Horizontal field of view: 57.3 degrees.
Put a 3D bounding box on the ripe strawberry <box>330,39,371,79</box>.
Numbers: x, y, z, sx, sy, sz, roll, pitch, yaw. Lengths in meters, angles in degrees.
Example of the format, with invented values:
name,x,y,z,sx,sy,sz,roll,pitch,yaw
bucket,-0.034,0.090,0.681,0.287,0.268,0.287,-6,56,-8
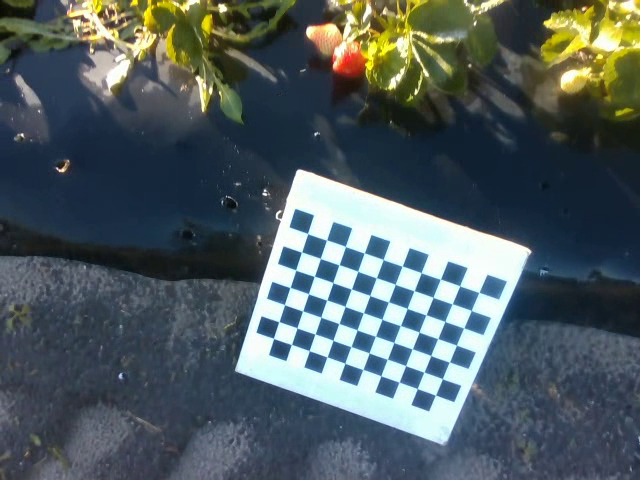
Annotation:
name,x,y,z,sx,sy,sz,roll,pitch,yaw
ripe strawberry,0.028,-0.186,0.608,0.040,0.038,0.055,9,20,32
